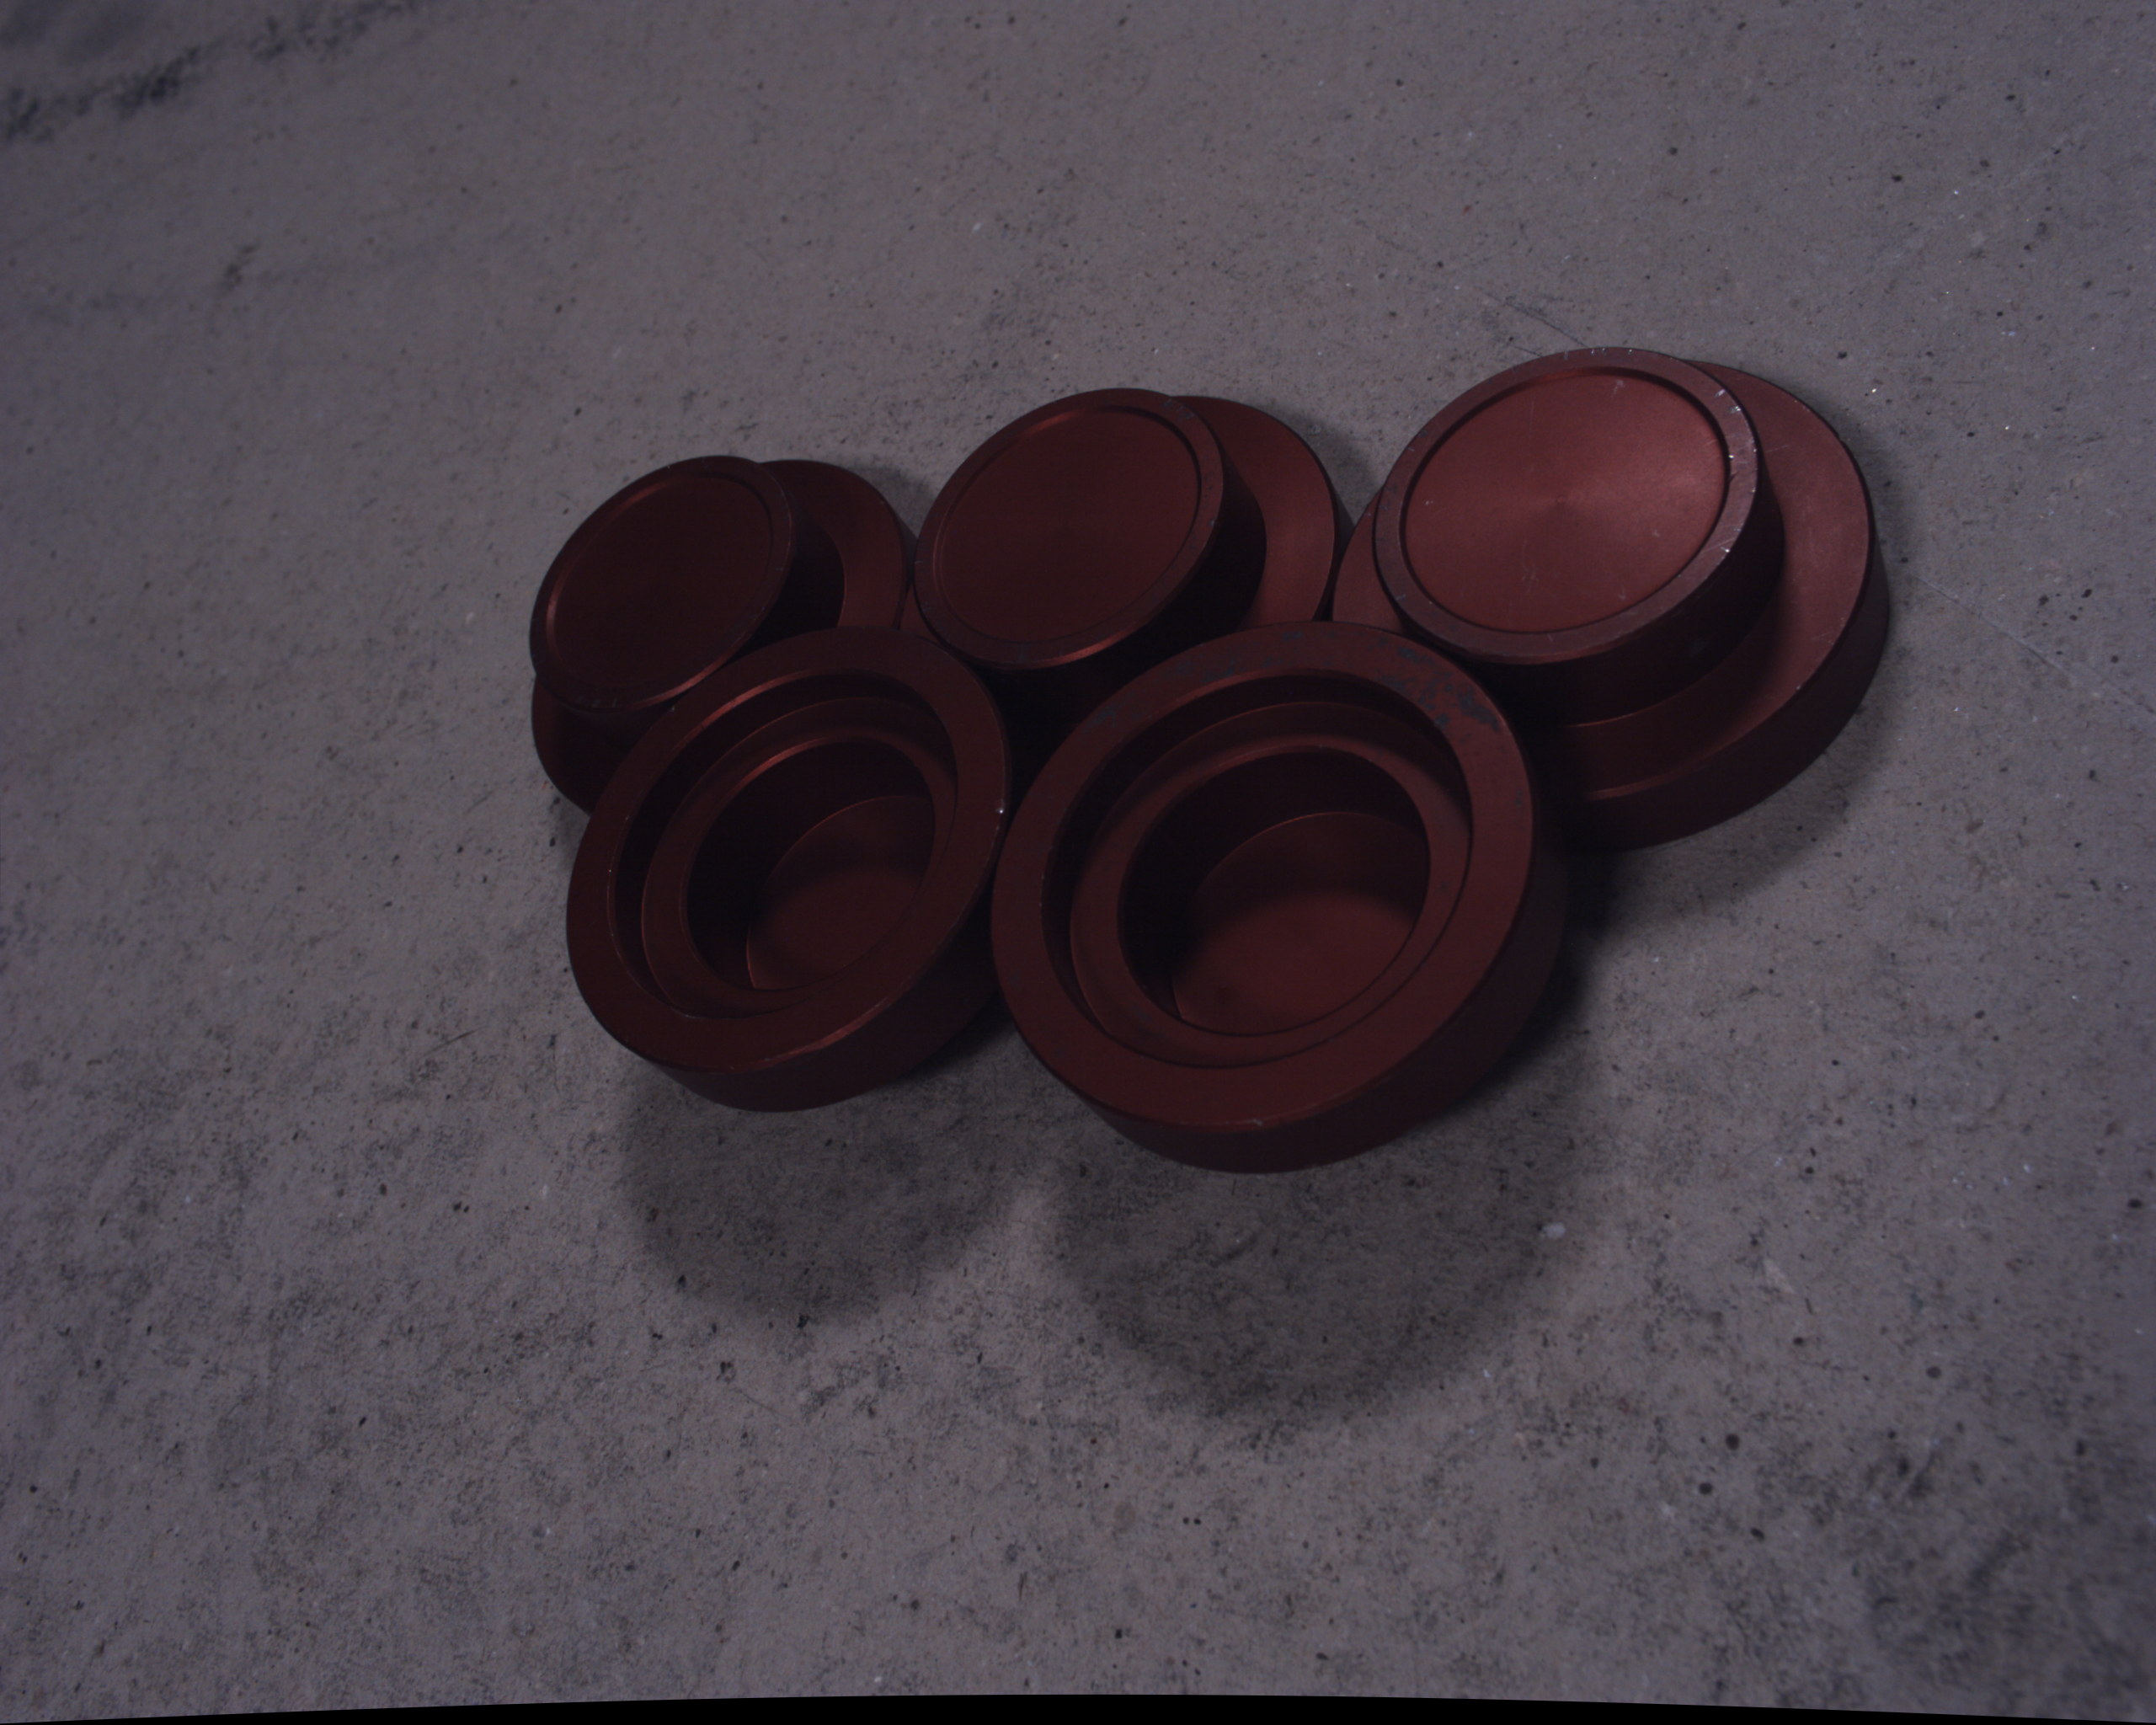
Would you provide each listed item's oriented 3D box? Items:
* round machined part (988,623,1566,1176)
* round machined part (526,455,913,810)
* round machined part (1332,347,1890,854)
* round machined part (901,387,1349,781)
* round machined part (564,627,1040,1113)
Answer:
[{"bbox_3d":[0.037,0.010,0.368,0.098,0.042,0.098,-13,56,20],"label":"round machined part"},{"bbox_3d":[-0.083,-0.052,0.468,0.098,0.042,0.098,-13,56,20],"label":"round machined part"},{"bbox_3d":[0.093,-0.054,0.378,0.098,0.042,0.098,-13,56,20],"label":"round machined part"},{"bbox_3d":[0.006,-0.057,0.425,0.098,0.042,0.098,-13,56,20],"label":"round machined part"},{"bbox_3d":[-0.049,0.005,0.416,0.098,0.042,0.098,-13,56,20],"label":"round machined part"}]
